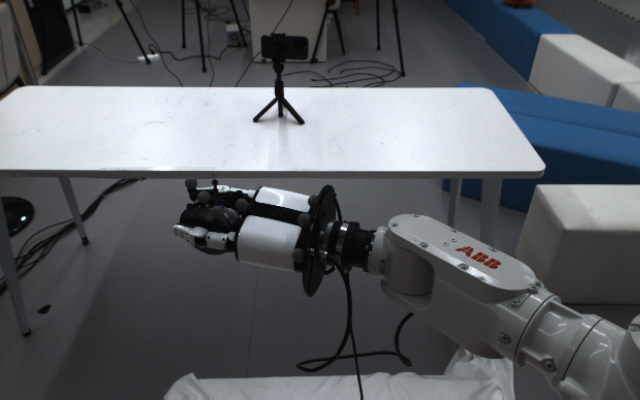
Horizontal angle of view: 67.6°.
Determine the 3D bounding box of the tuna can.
[{"bbox_3d":[-0.157,0.037,0.709,0.085,0.085,0.034,12,33,14],"label":"tuna can"}]
